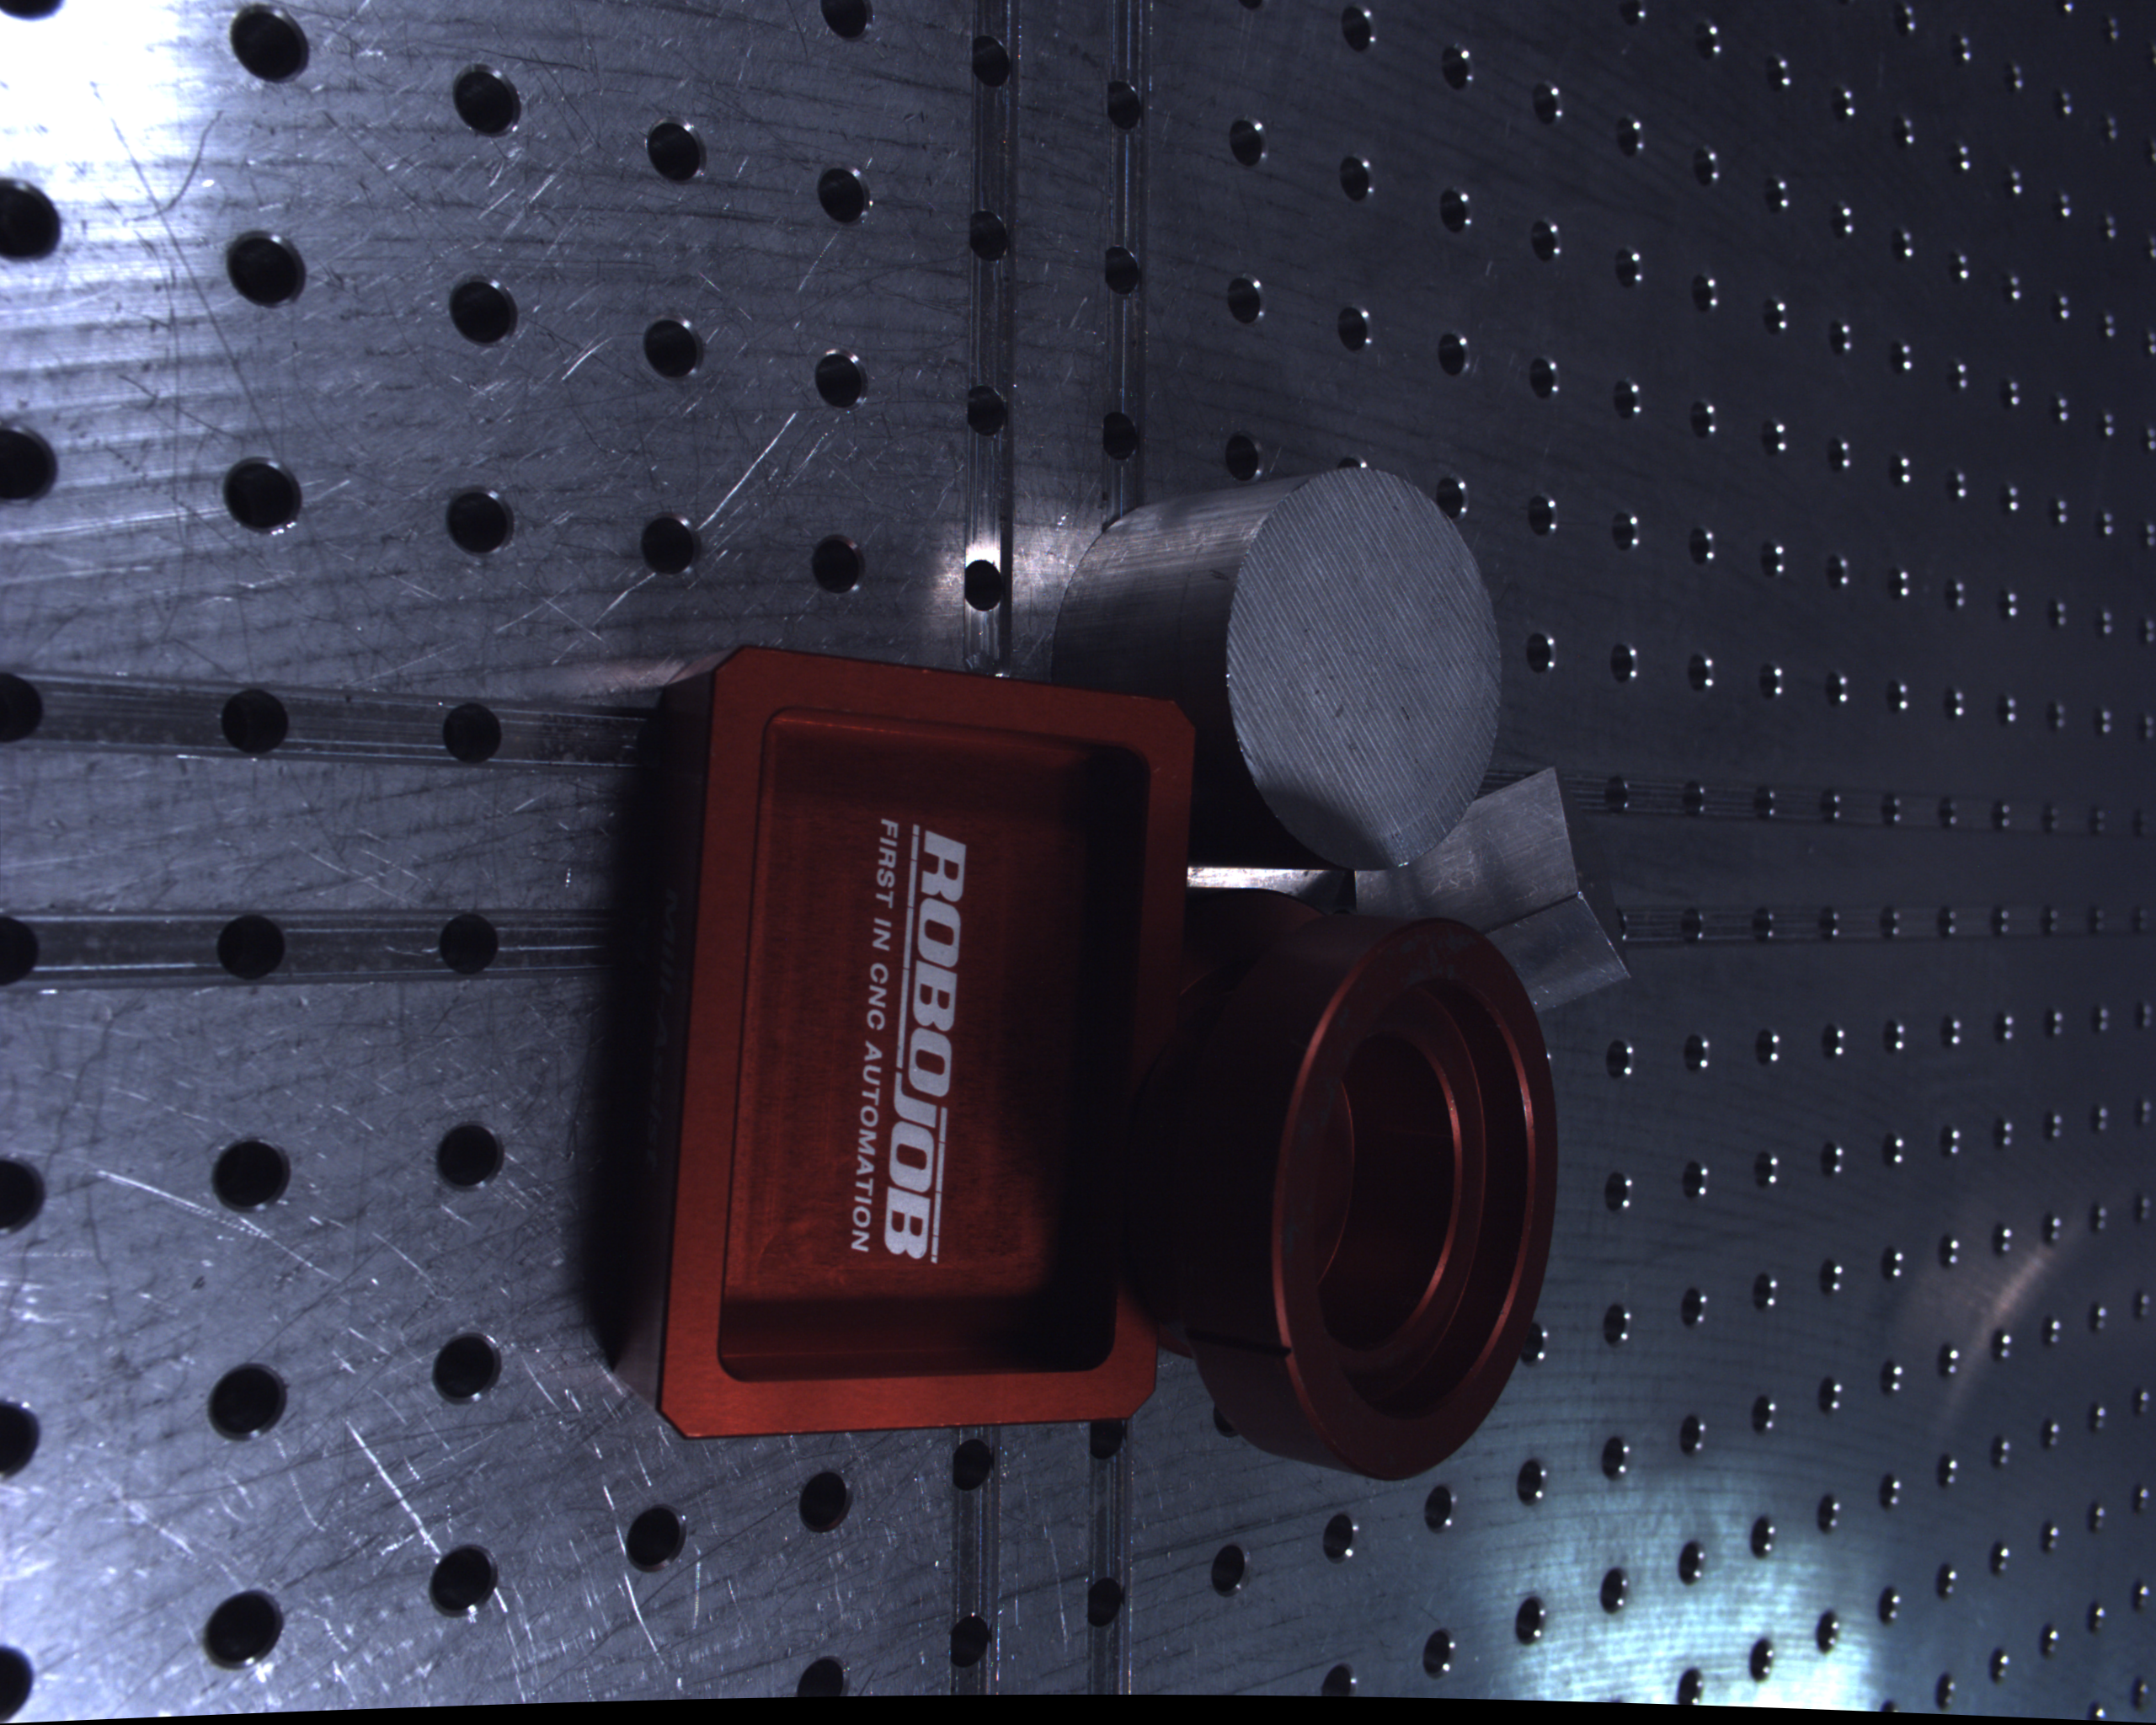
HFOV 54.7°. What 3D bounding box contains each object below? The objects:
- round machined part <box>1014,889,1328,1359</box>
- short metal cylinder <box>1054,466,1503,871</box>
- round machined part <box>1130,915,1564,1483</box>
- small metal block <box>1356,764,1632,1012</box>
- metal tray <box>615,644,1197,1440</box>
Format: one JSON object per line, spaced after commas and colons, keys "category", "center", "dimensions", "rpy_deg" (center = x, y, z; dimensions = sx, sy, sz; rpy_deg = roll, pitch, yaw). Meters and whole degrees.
{"category": "round machined part", "center": [0.037, 0.054, 0.430], "dimensions": [0.099, 0.042, 0.097], "rpy_deg": [0, 90, -40]}
{"category": "short metal cylinder", "center": [0.042, -0.038, 0.430], "dimensions": [0.081, 0.050, 0.079], "rpy_deg": [0, 90, -40]}
{"category": "round machined part", "center": [0.046, 0.058, 0.377], "dimensions": [0.099, 0.042, 0.097], "rpy_deg": [-4, 95, -50]}
{"category": "small metal block", "center": [0.090, 0.011, 0.458], "dimensions": [0.025, 0.050, 0.050], "rpy_deg": [55, 23, -27]}
{"category": "metal tray", "center": [-0.029, 0.032, 0.369], "dimensions": [0.091, 0.030, 0.129], "rpy_deg": [5, 87, -26]}
